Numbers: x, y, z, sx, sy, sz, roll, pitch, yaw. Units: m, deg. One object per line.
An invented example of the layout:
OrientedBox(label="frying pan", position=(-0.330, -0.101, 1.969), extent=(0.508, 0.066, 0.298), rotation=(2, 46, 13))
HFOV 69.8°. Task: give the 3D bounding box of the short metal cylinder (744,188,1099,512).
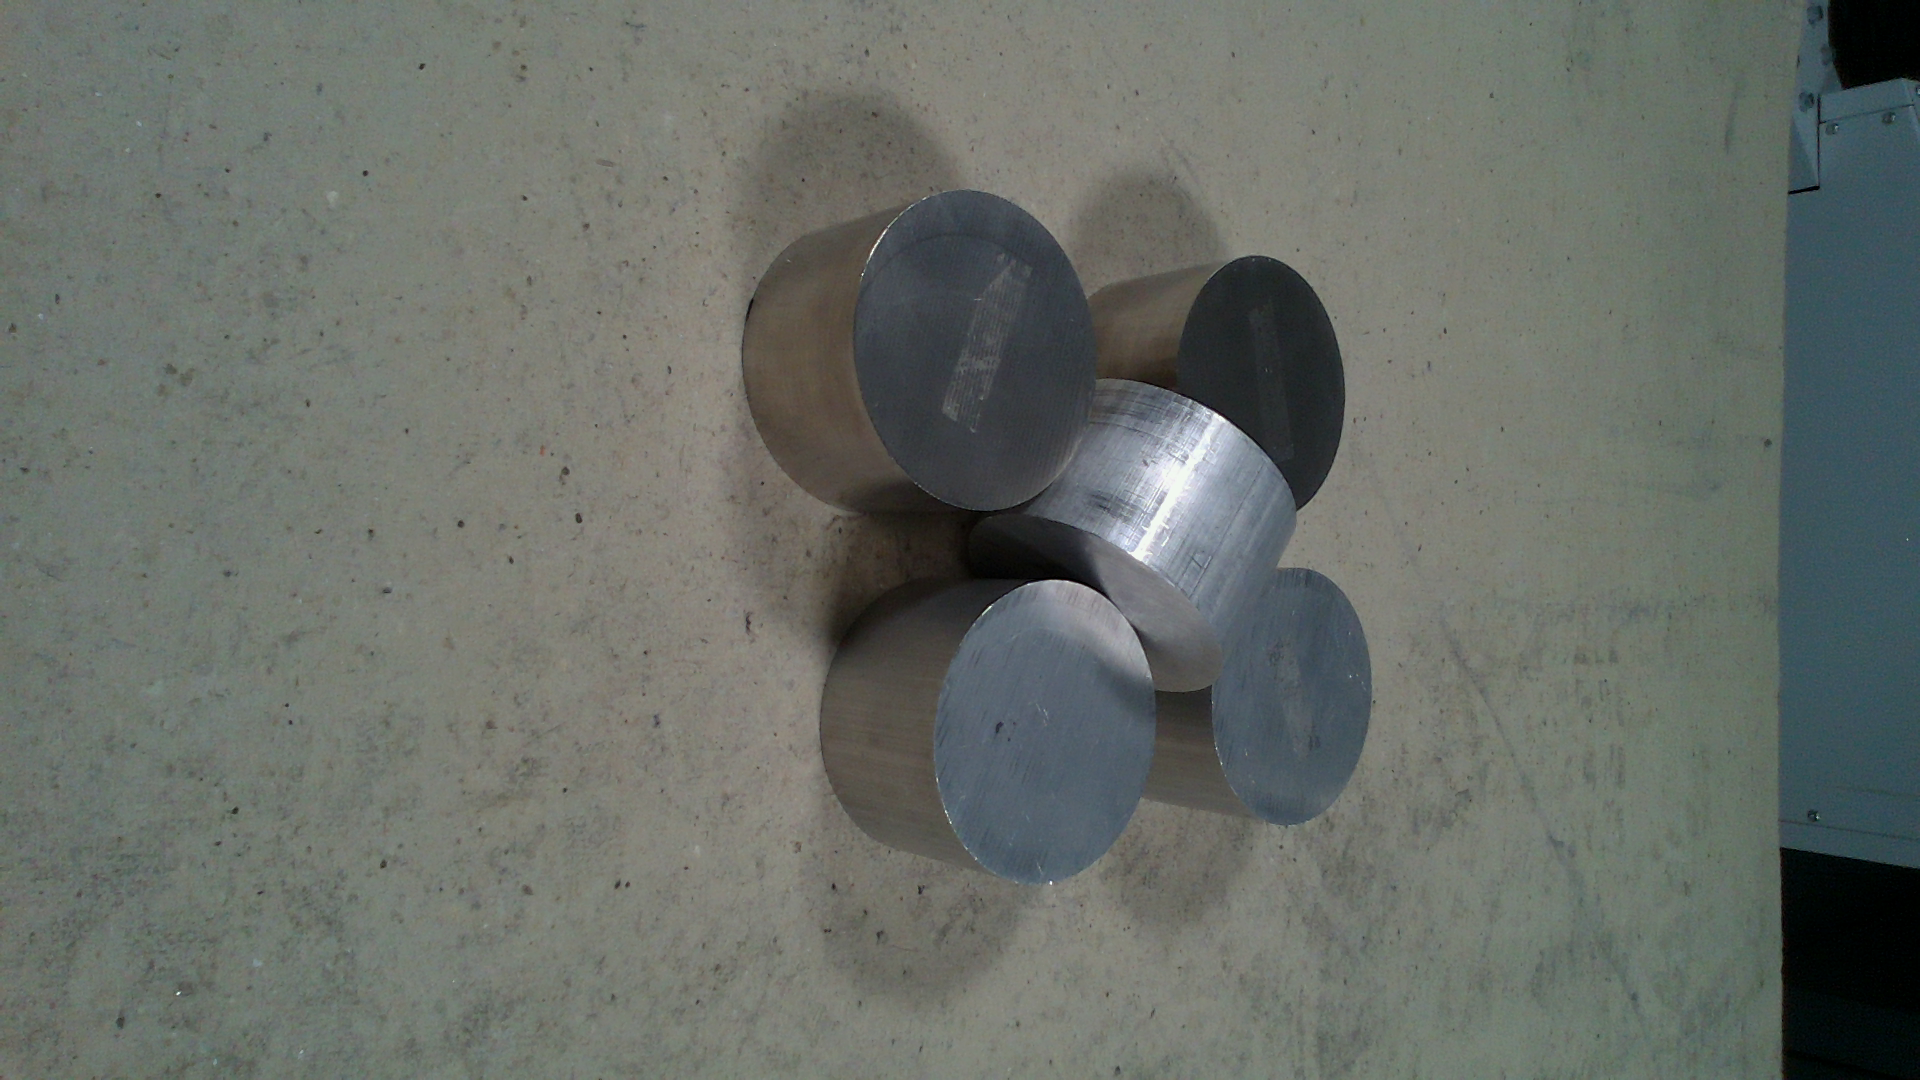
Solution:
OrientedBox(label="short metal cylinder", position=(-0.009, -0.048, 0.364), extent=(0.080, 0.050, 0.080), rotation=(0, 90, -40))

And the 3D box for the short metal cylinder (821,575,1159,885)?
OrientedBox(label="short metal cylinder", position=(0.009, 0.050, 0.379), extent=(0.080, 0.050, 0.080), rotation=(0, 90, -40))

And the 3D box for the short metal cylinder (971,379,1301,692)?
OrientedBox(label="short metal cylinder", position=(0.050, 0.000, 0.395), extent=(0.080, 0.080, 0.050), rotation=(47, 62, -30))

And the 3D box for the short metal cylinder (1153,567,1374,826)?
OrientedBox(label="short metal cylinder", position=(0.090, 0.048, 0.446), extent=(0.080, 0.050, 0.080), rotation=(0, 90, -40))

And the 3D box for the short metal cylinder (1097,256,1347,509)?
OrientedBox(label="short metal cylinder", position=(0.077, -0.046, 0.435), extent=(0.080, 0.050, 0.080), rotation=(0, 90, -40))
